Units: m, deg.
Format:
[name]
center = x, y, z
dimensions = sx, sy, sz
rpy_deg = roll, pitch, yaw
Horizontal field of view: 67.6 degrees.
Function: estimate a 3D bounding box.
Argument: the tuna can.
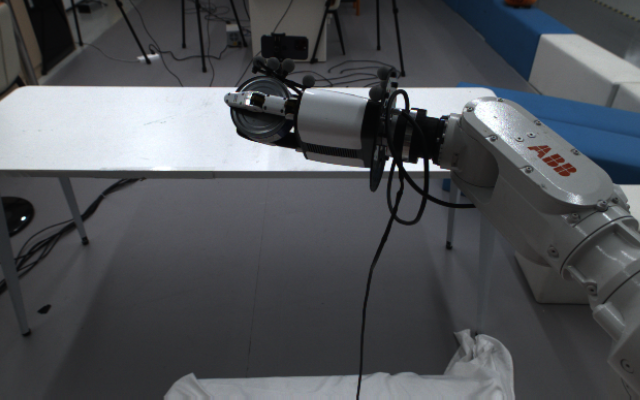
[tuna can]
center = -0.074, -0.123, 0.654
dimensions = 0.085, 0.085, 0.034
rpy_deg = 13, -6, 16
